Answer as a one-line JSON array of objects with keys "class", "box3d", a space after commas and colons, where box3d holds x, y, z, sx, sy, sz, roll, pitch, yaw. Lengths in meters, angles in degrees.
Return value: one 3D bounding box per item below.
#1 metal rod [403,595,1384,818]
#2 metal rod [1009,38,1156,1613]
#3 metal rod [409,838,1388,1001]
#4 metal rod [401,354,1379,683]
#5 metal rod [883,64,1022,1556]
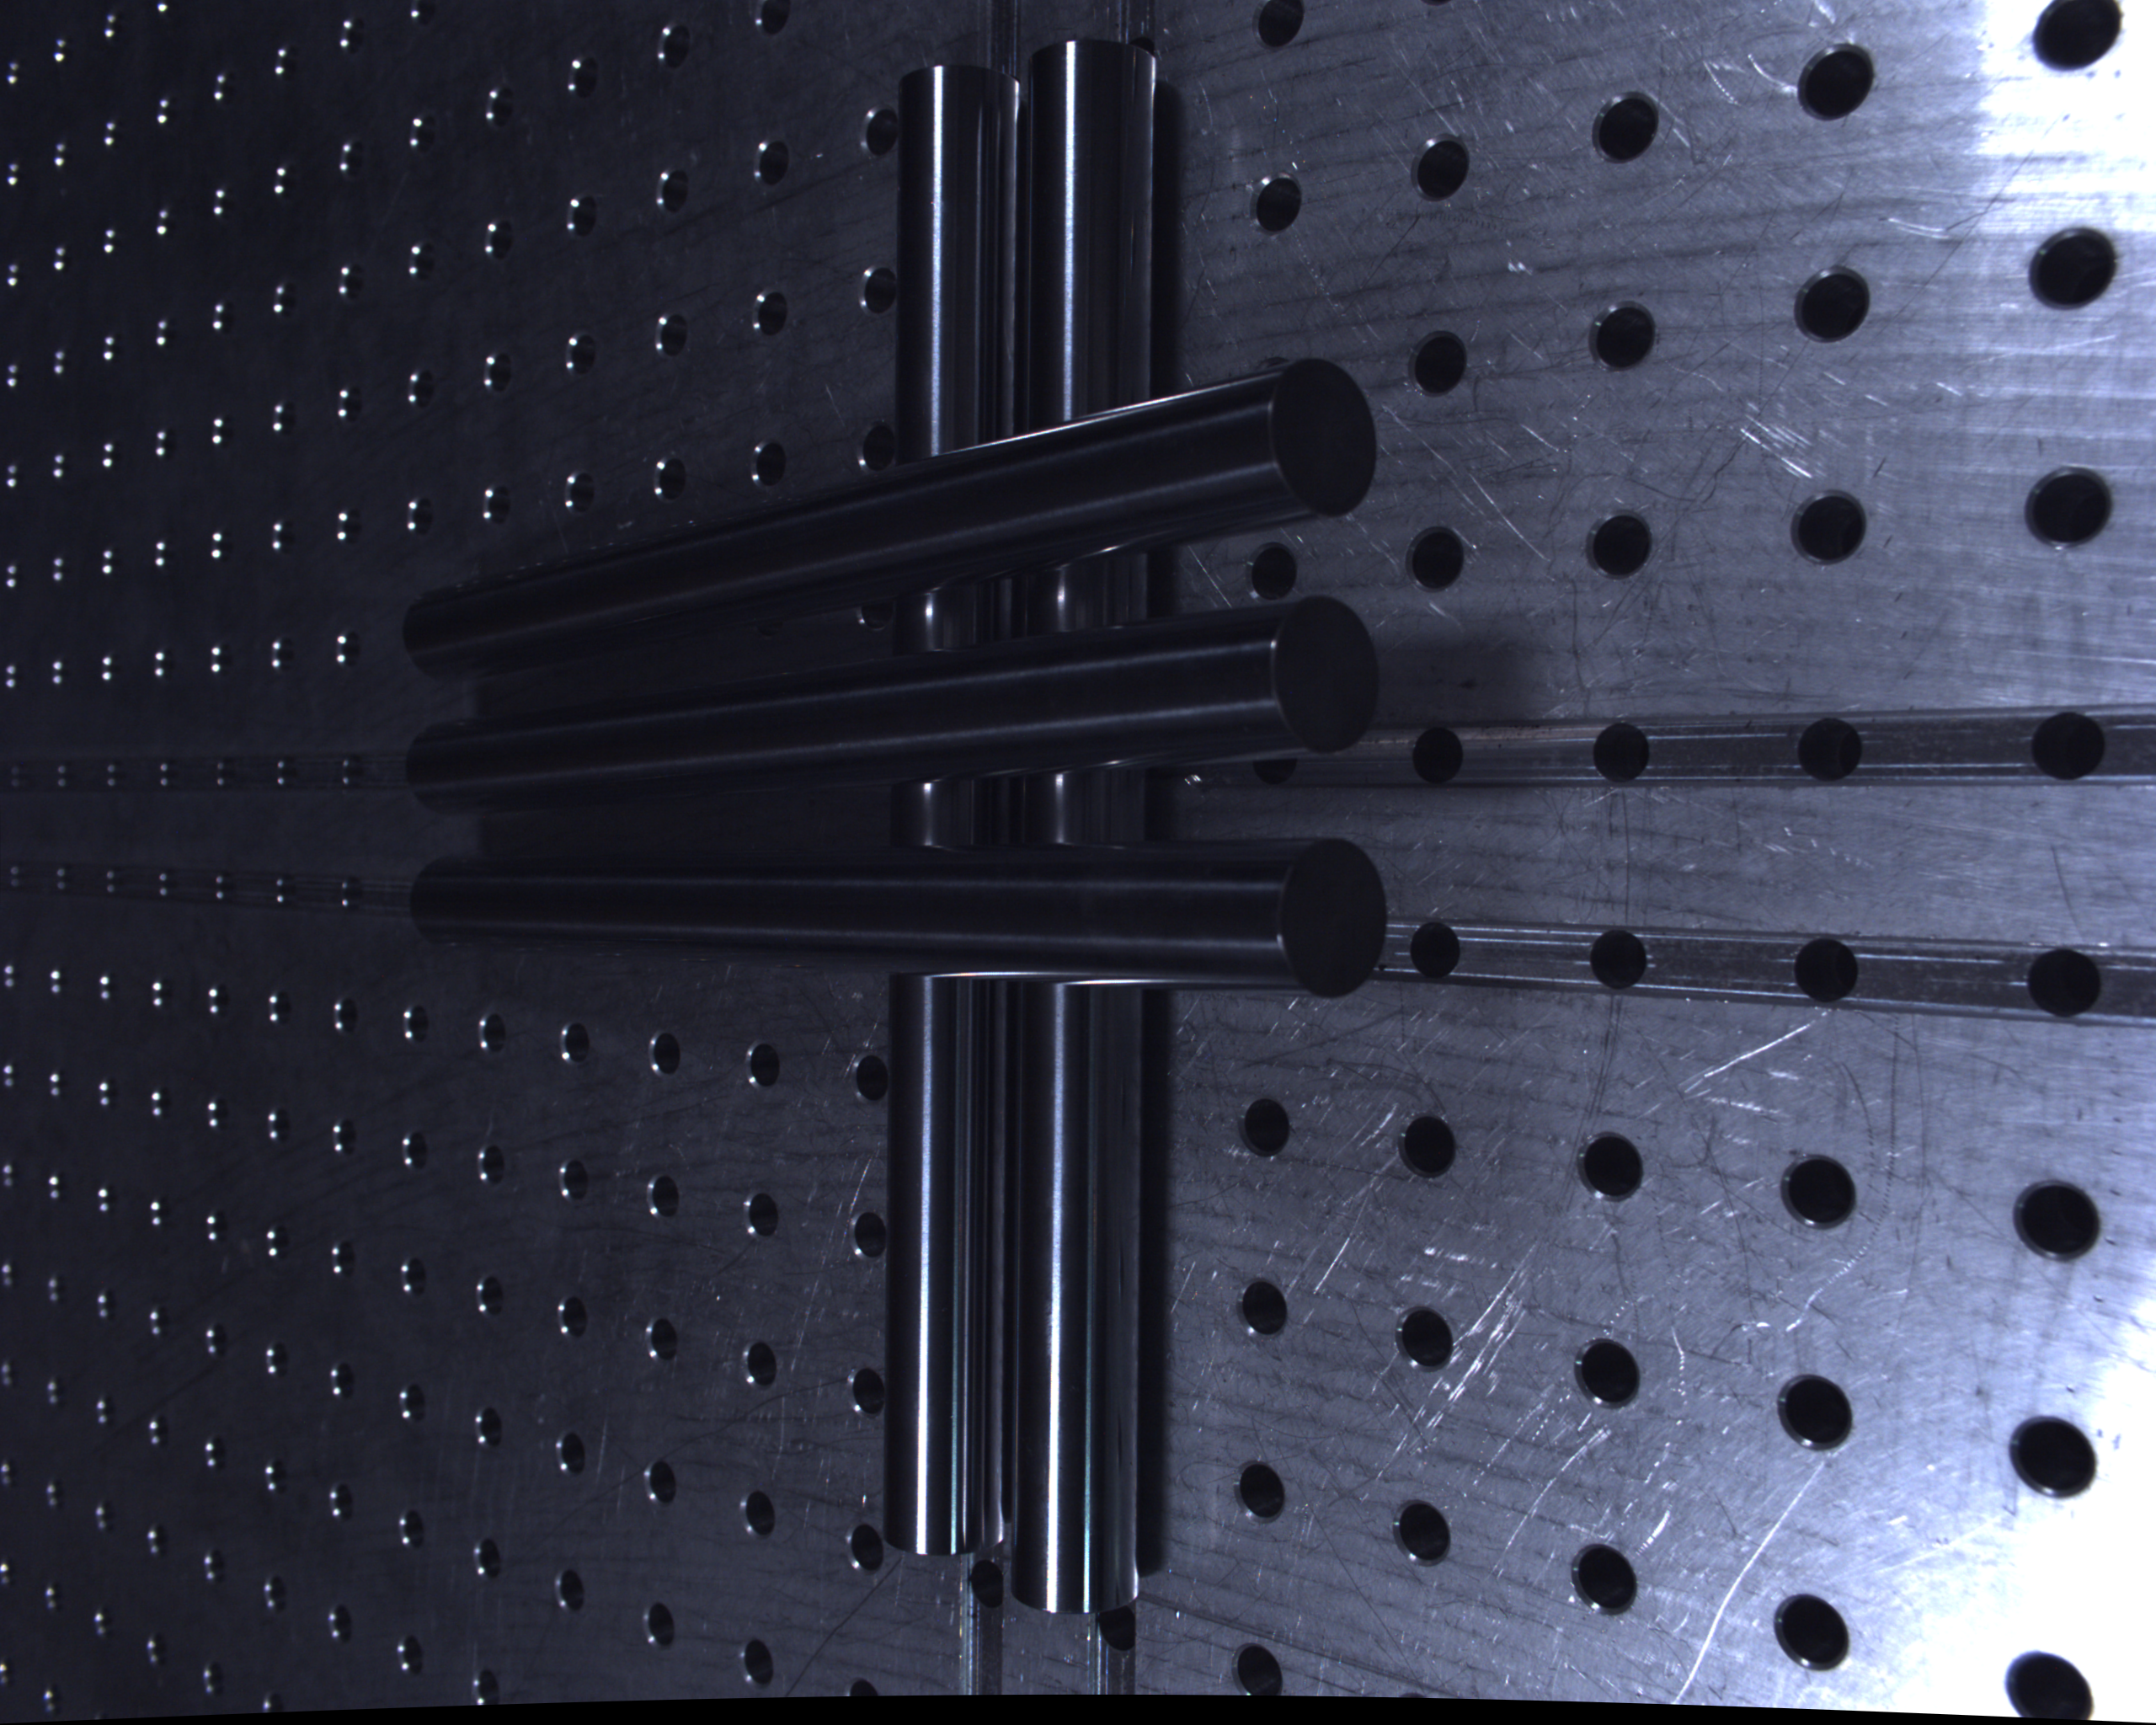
[{"class": "metal rod", "box3d": [-0.062, -0.026, 0.431, 0.300, 0.025, 0.025, -1, 89, 48]}, {"class": "metal rod", "box3d": [0.001, -0.007, 0.407, 0.025, 0.025, 0.298, 1, 91, 39]}, {"class": "metal rod", "box3d": [-0.061, 0.009, 0.430, 0.300, 0.025, 0.025, 0, 90, 48]}, {"class": "metal rod", "box3d": [-0.063, -0.063, 0.432, 0.300, 0.025, 0.025, -2, 89, 47]}, {"class": "metal rod", "box3d": [-0.026, -0.010, 0.429, 0.025, 0.025, 0.298, 1, 91, 39]}]
